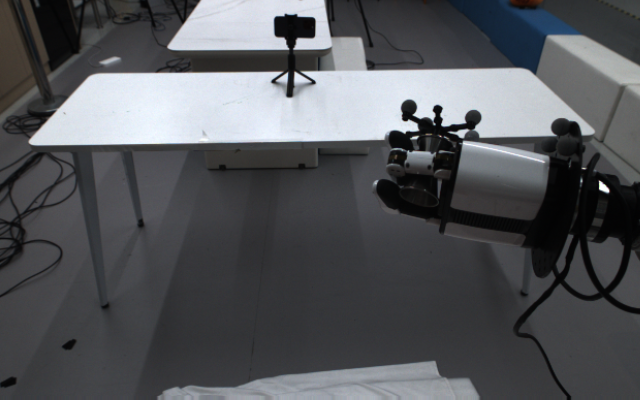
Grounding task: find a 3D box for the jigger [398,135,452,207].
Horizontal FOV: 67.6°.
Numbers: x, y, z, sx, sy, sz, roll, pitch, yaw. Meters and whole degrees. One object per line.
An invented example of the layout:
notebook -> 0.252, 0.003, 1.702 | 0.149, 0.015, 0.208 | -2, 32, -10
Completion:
jigger -> 0.118, -0.032, 0.524 | 0.043, 0.043, 0.071 | 13, 69, 16
